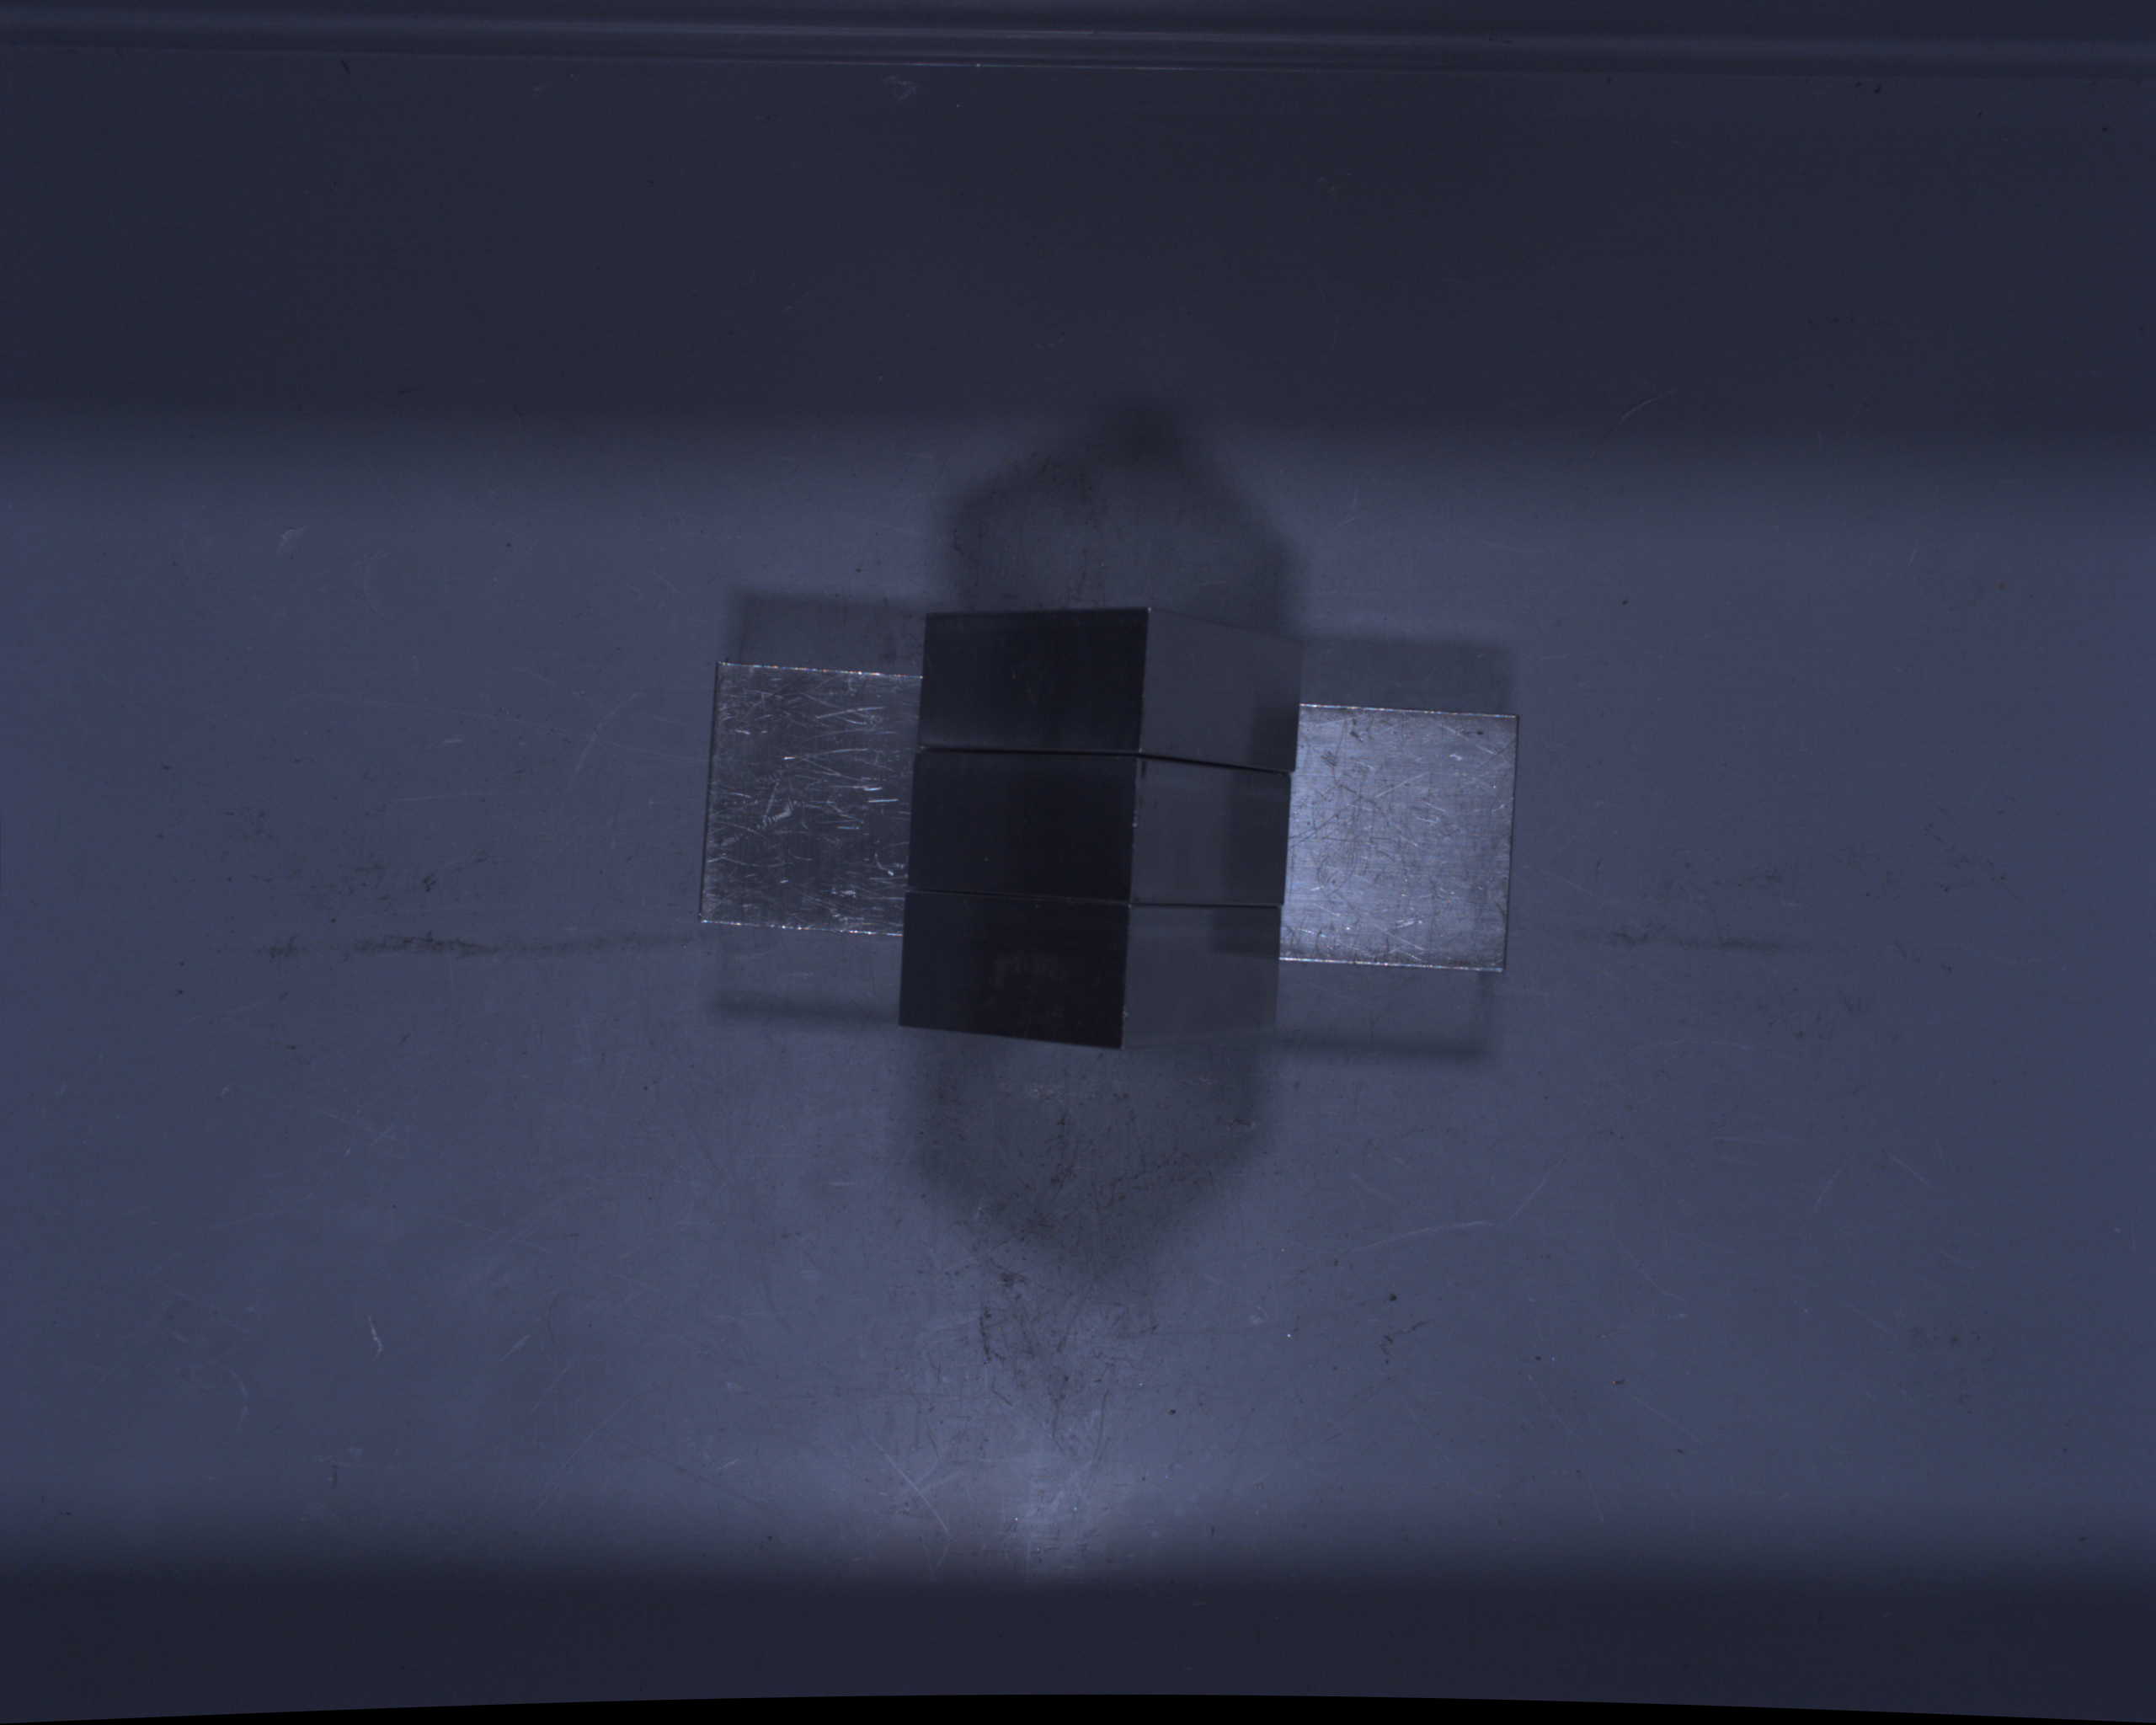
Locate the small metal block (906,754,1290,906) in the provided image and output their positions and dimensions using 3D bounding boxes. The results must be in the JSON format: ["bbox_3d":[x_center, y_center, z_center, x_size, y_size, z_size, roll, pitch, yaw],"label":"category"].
[{"bbox_3d":[0.004,-0.006,0.387,0.050,0.050,0.025,2,90,36],"label":"small metal block"}]

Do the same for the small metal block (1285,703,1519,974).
[{"bbox_3d":[0.058,-0.005,0.411,0.050,0.025,0.050,3,90,-1],"label":"small metal block"}]

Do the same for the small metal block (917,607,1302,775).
[{"bbox_3d":[0.006,-0.031,0.387,0.050,0.050,0.025,3,90,36],"label":"small metal block"}]

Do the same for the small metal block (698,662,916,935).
[{"bbox_3d":[-0.045,-0.012,0.409,0.050,0.025,0.050,4,90,-1],"label":"small metal block"}]

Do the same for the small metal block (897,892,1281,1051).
[{"bbox_3d":[0.003,0.019,0.387,0.050,0.050,0.025,2,90,36],"label":"small metal block"}]
